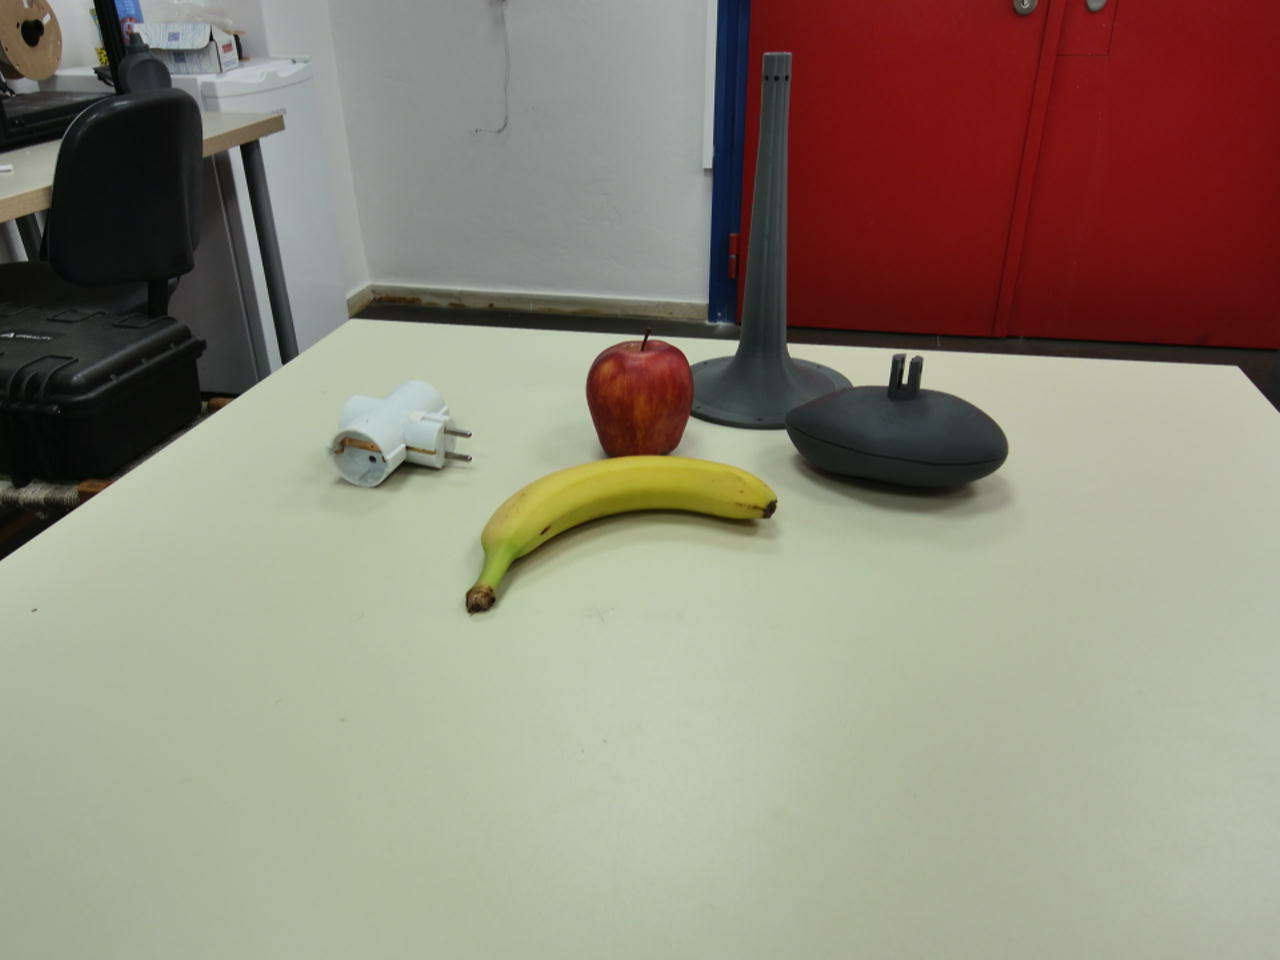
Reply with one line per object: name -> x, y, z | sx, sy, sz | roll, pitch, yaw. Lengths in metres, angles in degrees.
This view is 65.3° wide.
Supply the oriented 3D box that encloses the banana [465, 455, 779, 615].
banana -> -0.021, 0.019, 0.603 | 0.196, 0.041, 0.094 | -11, 28, -21
